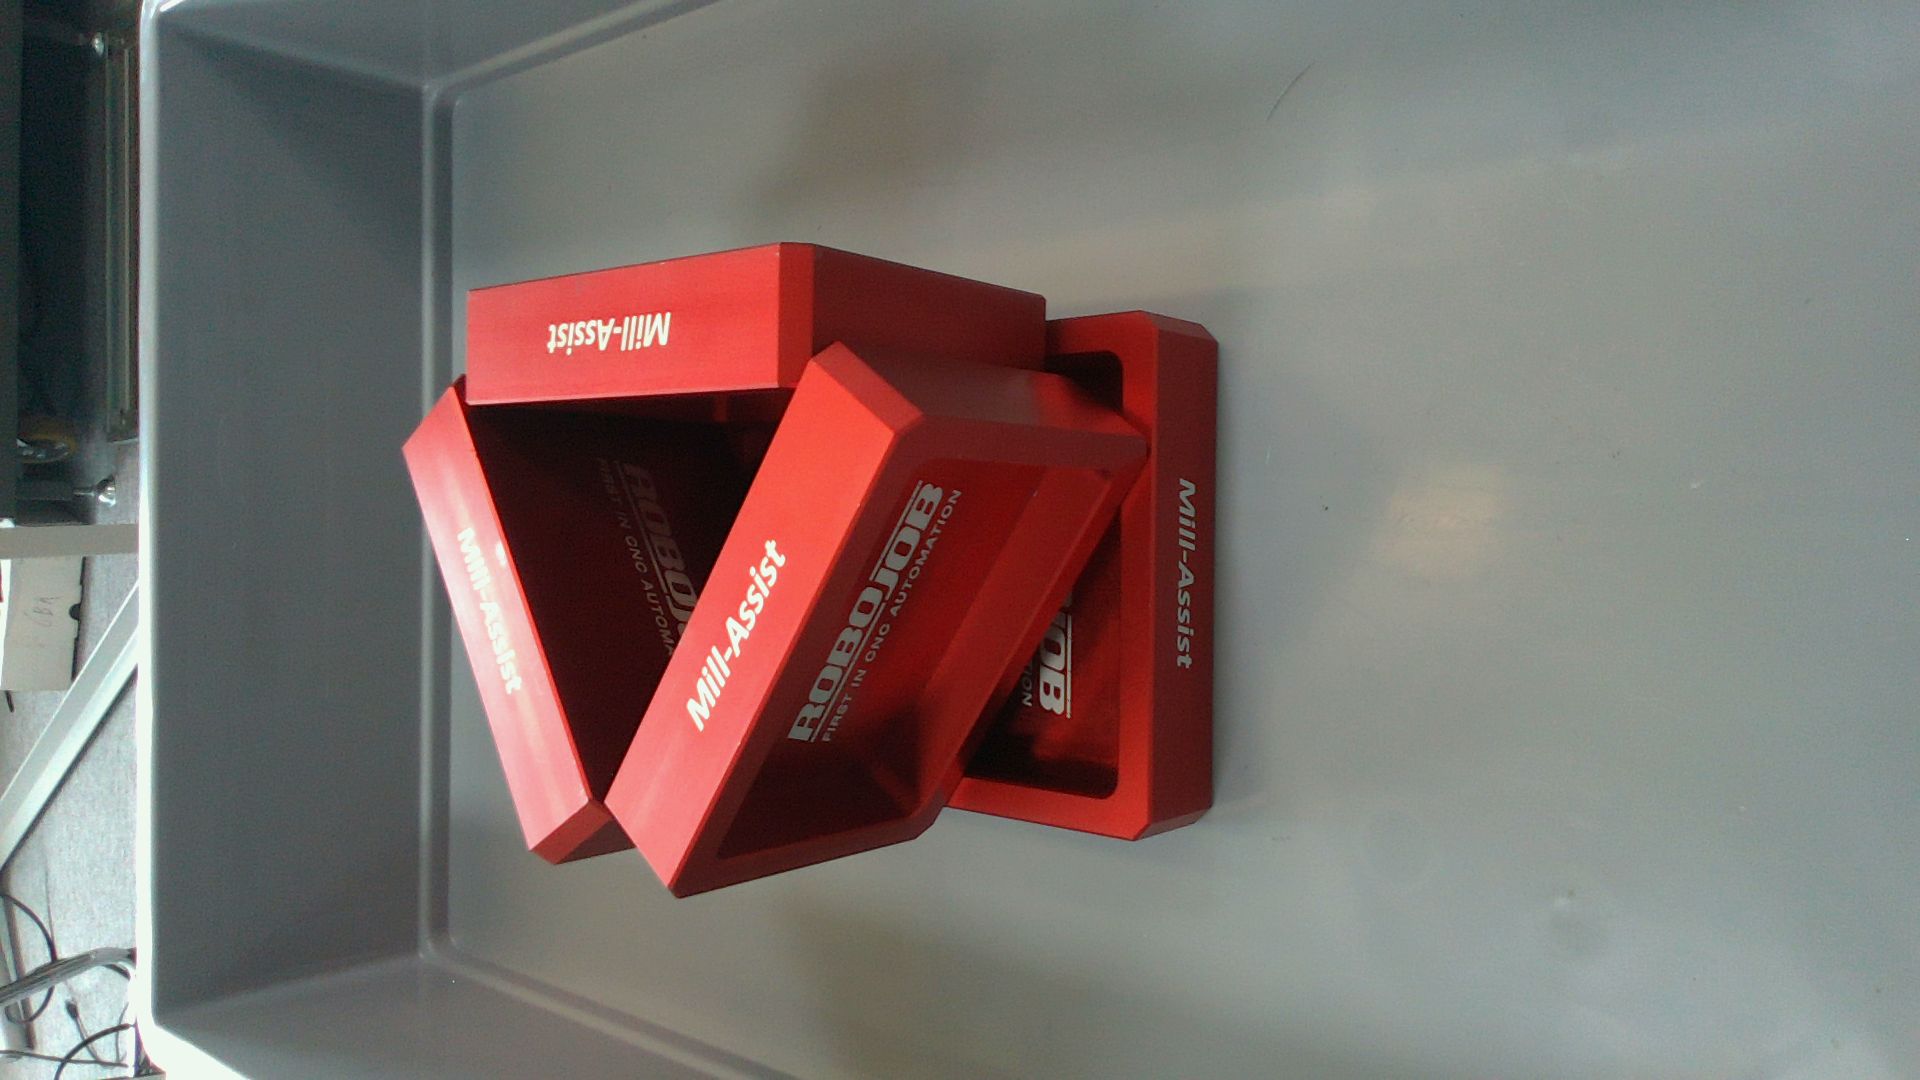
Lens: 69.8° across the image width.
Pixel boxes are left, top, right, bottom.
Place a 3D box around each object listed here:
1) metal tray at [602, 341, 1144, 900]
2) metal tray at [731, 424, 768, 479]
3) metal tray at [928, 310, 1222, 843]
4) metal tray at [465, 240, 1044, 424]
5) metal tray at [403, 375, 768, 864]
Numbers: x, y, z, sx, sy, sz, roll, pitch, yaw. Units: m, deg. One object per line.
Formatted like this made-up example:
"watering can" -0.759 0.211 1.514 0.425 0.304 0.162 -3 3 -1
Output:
"metal tray" -0.020 0.021 0.327 0.030 0.090 0.130 43 116 32
"metal tray" -0.047 0.006 0.431 0.090 0.030 0.130 1 89 40
"metal tray" 0.023 0.008 0.372 0.090 0.030 0.130 2 90 40
"metal tray" -0.055 -0.049 0.356 0.129 0.090 0.030 2 92 40
"metal tray" -0.092 0.018 0.389 0.030 0.090 0.130 -38 66 34
